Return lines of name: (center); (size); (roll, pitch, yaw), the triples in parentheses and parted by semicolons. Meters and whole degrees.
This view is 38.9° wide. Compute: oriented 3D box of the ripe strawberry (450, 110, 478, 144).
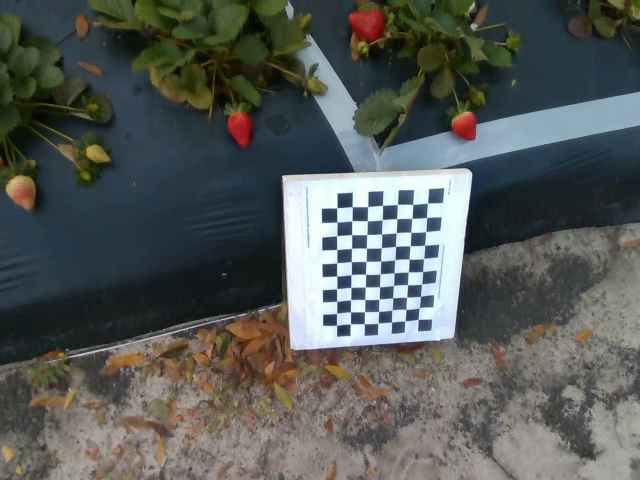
ripe strawberry: (0.207, -0.162, 1.271); (0.039, 0.047, 0.041); (-31, 20, 11)

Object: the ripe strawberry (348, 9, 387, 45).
ripe strawberry: (0.073, -0.293, 1.240); (0.062, 0.043, 0.043); (18, 23, -13)
